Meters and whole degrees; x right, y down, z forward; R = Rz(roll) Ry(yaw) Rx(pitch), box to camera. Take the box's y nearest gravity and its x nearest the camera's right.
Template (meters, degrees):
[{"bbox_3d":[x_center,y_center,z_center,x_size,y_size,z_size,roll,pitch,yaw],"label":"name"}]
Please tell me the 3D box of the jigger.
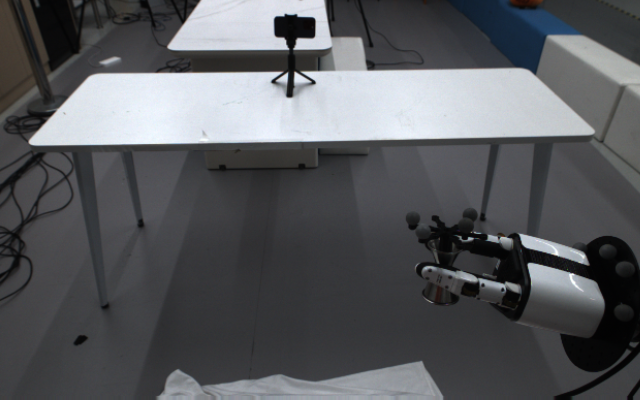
[{"bbox_3d":[0.144,0.083,0.573,0.043,0.071,0.043,0,21,0],"label":"jigger"}]
